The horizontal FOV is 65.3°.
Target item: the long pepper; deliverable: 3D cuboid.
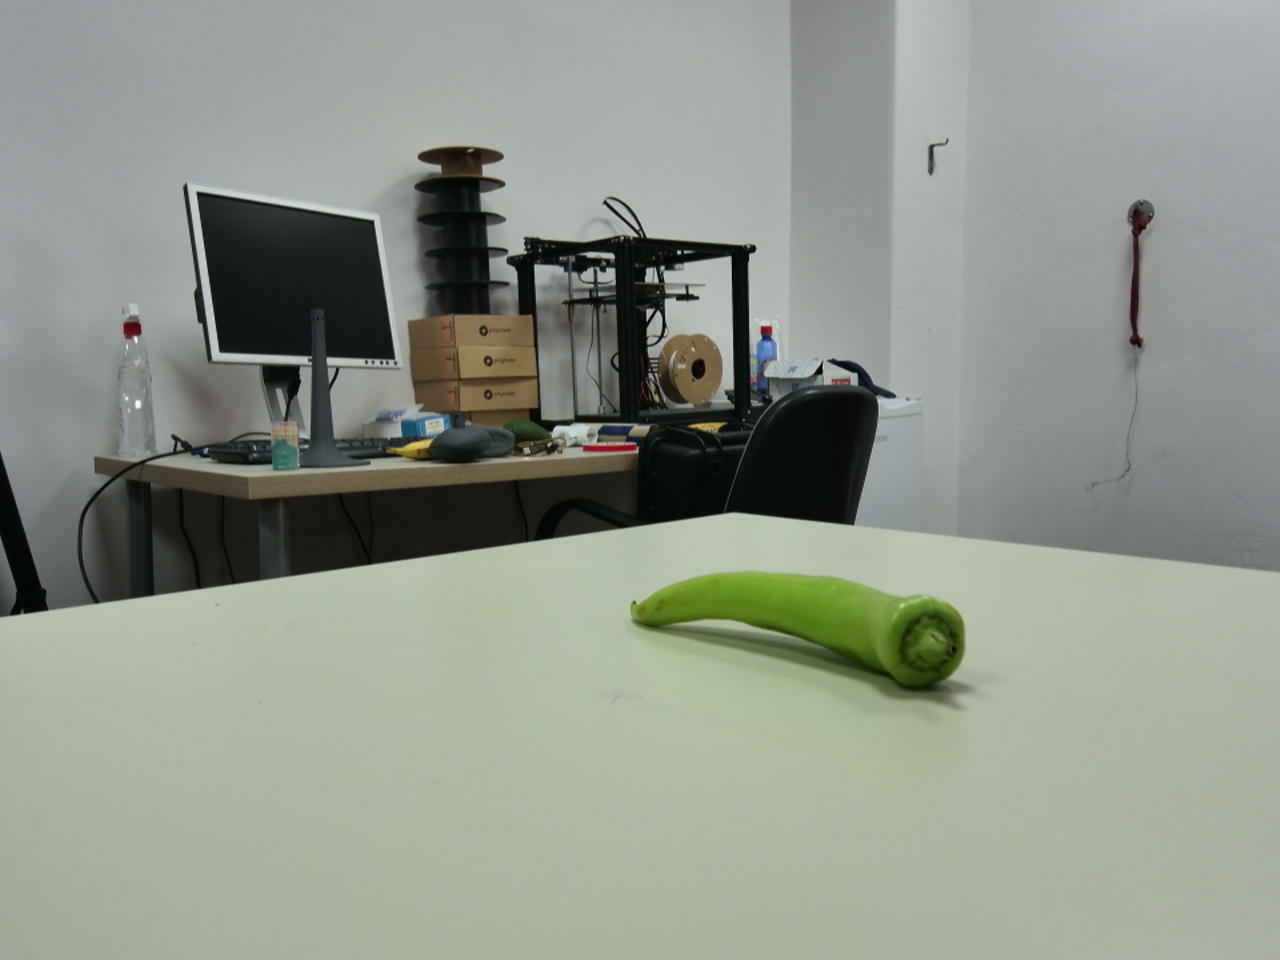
[{"bbox_3d":[0.067,0.060,0.460,0.046,0.038,0.197,-1,4,-38],"label":"long pepper"}]
